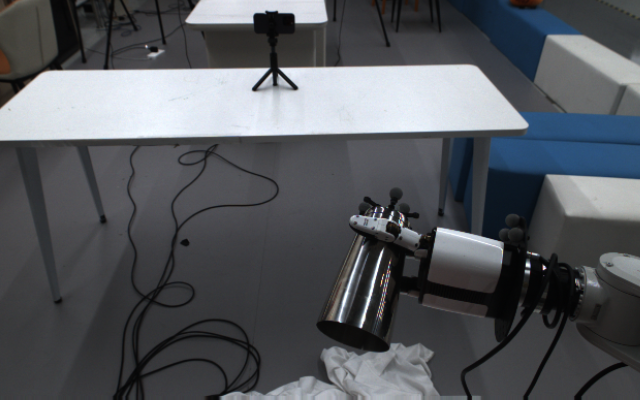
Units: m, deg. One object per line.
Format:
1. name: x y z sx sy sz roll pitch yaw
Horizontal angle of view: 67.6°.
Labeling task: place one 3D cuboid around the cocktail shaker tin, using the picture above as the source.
1. cocktail shaker tin: 0.065 0.093 0.624 0.093 0.093 0.170 13 59 16
